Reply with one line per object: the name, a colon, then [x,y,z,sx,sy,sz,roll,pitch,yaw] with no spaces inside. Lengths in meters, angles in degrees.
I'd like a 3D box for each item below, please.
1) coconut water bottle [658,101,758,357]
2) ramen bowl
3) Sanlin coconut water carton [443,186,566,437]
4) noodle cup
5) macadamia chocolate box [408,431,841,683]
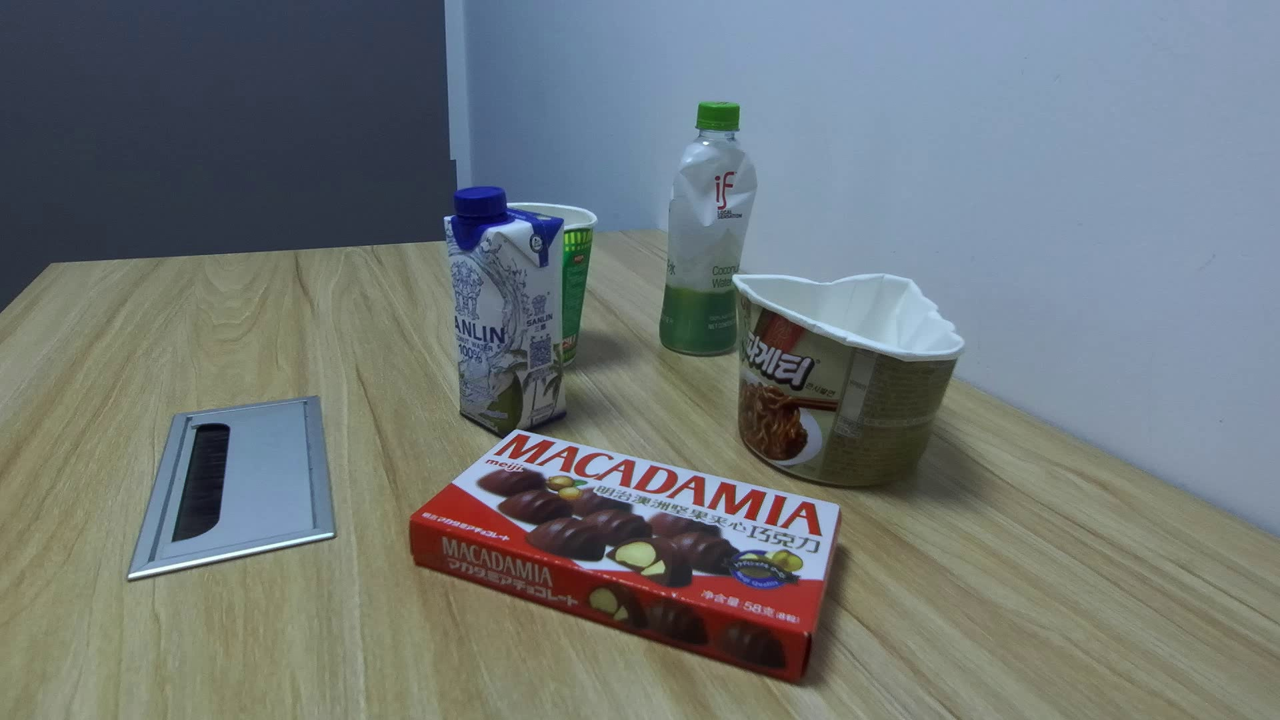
coconut water bottle: [0.052,-0.098,0.543,0.067,0.187,0.067,3,21,-1]
ramen bowl: [0.120,0.010,0.412,0.114,0.097,0.133,-1,23,-10]
Sanlin coconut water carton: [-0.079,-0.030,0.428,0.060,0.144,0.061,20,27,38]
noodle cup: [-0.077,-0.054,0.525,0.075,0.122,0.082,3,13,-21]
macadamia chocolate box: [-0.006,0.083,0.331,0.177,0.027,0.096,12,24,16]
